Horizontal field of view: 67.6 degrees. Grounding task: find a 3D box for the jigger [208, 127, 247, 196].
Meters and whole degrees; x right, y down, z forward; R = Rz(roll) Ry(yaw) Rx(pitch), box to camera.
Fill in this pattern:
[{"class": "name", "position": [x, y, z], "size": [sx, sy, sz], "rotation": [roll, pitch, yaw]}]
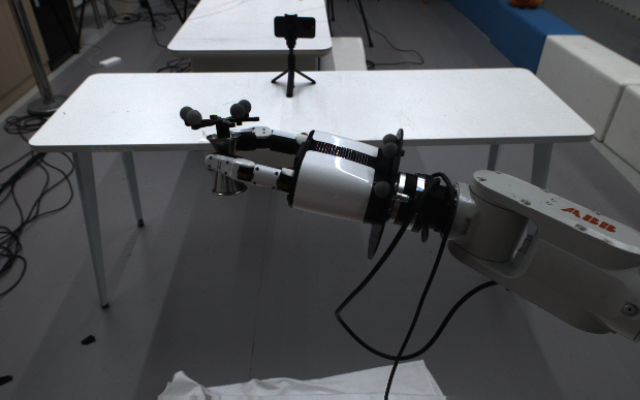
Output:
[{"class": "jigger", "position": [-0.112, -0.043, 0.582], "size": [0.043, 0.071, 0.043], "rotation": [-2, 19, 1]}]
